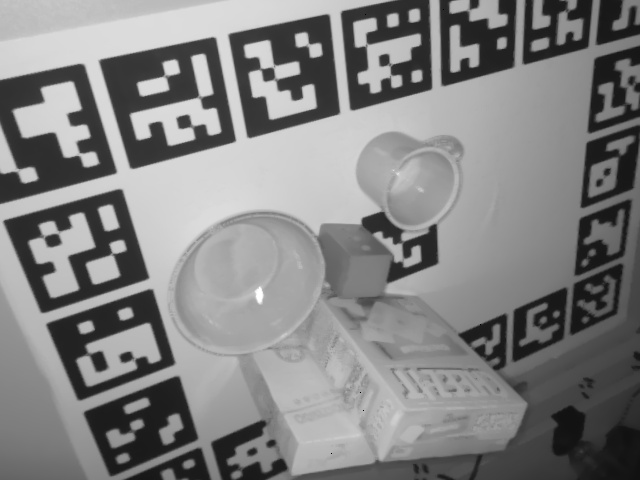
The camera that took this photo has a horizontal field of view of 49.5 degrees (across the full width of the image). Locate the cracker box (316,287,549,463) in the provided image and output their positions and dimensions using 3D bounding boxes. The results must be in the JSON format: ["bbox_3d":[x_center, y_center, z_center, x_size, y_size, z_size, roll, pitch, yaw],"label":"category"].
[{"bbox_3d":[0.111,0.137,0.737,0.166,0.213,0.071,12,111,-29],"label":"cracker box"}]

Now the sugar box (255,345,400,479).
[{"bbox_3d":[0.004,0.173,0.723,0.094,0.175,0.045,3,113,-27],"label":"sugar box"}]

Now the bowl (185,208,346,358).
[{"bbox_3d":[-0.058,0.034,0.687,0.164,0.055,0.160,-11,117,-21],"label":"bowl"}]

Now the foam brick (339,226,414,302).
[{"bbox_3d":[0.057,0.024,0.743,0.053,0.078,0.051,-3,116,-25],"label":"foam brick"}]

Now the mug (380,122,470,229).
[{"bbox_3d":[0.125,-0.075,0.716,0.118,0.081,0.093,-26,131,-14],"label":"mug"}]
